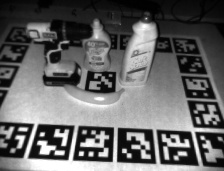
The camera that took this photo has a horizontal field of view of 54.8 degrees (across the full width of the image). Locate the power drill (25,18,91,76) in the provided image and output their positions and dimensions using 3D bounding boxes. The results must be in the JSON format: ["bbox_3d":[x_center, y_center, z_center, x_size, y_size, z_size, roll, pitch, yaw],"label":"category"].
[{"bbox_3d":[-0.157,-0.116,0.662,0.185,0.187,0.057,2,44,-6],"label":"power drill"}]

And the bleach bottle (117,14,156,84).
[{"bbox_3d":[0.075,-0.105,0.672,0.103,0.252,0.067,-4,53,-6],"label":"bleach bottle"}]

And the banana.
[{"bbox_3d":[-0.058,0.013,0.688,0.197,0.039,0.074,5,55,1],"label":"banana"}]

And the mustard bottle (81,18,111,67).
[{"bbox_3d":[-0.053,-0.145,0.718,0.096,0.192,0.058,4,51,-2],"label":"mustard bottle"}]
